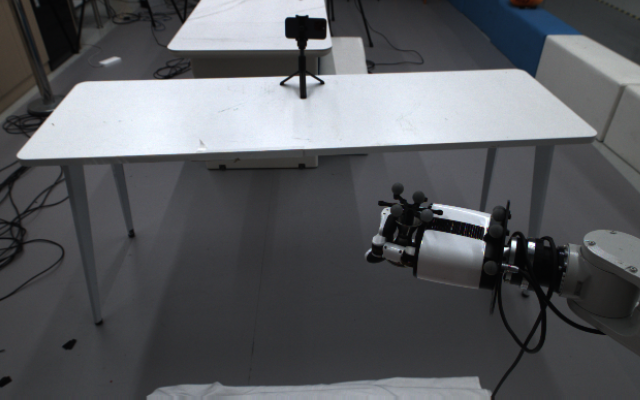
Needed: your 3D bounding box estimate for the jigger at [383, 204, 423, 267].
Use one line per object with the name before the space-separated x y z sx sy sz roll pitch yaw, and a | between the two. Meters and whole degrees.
jigger | 0.122 0.057 0.695 0.043 0.071 0.043 6 26 -3
